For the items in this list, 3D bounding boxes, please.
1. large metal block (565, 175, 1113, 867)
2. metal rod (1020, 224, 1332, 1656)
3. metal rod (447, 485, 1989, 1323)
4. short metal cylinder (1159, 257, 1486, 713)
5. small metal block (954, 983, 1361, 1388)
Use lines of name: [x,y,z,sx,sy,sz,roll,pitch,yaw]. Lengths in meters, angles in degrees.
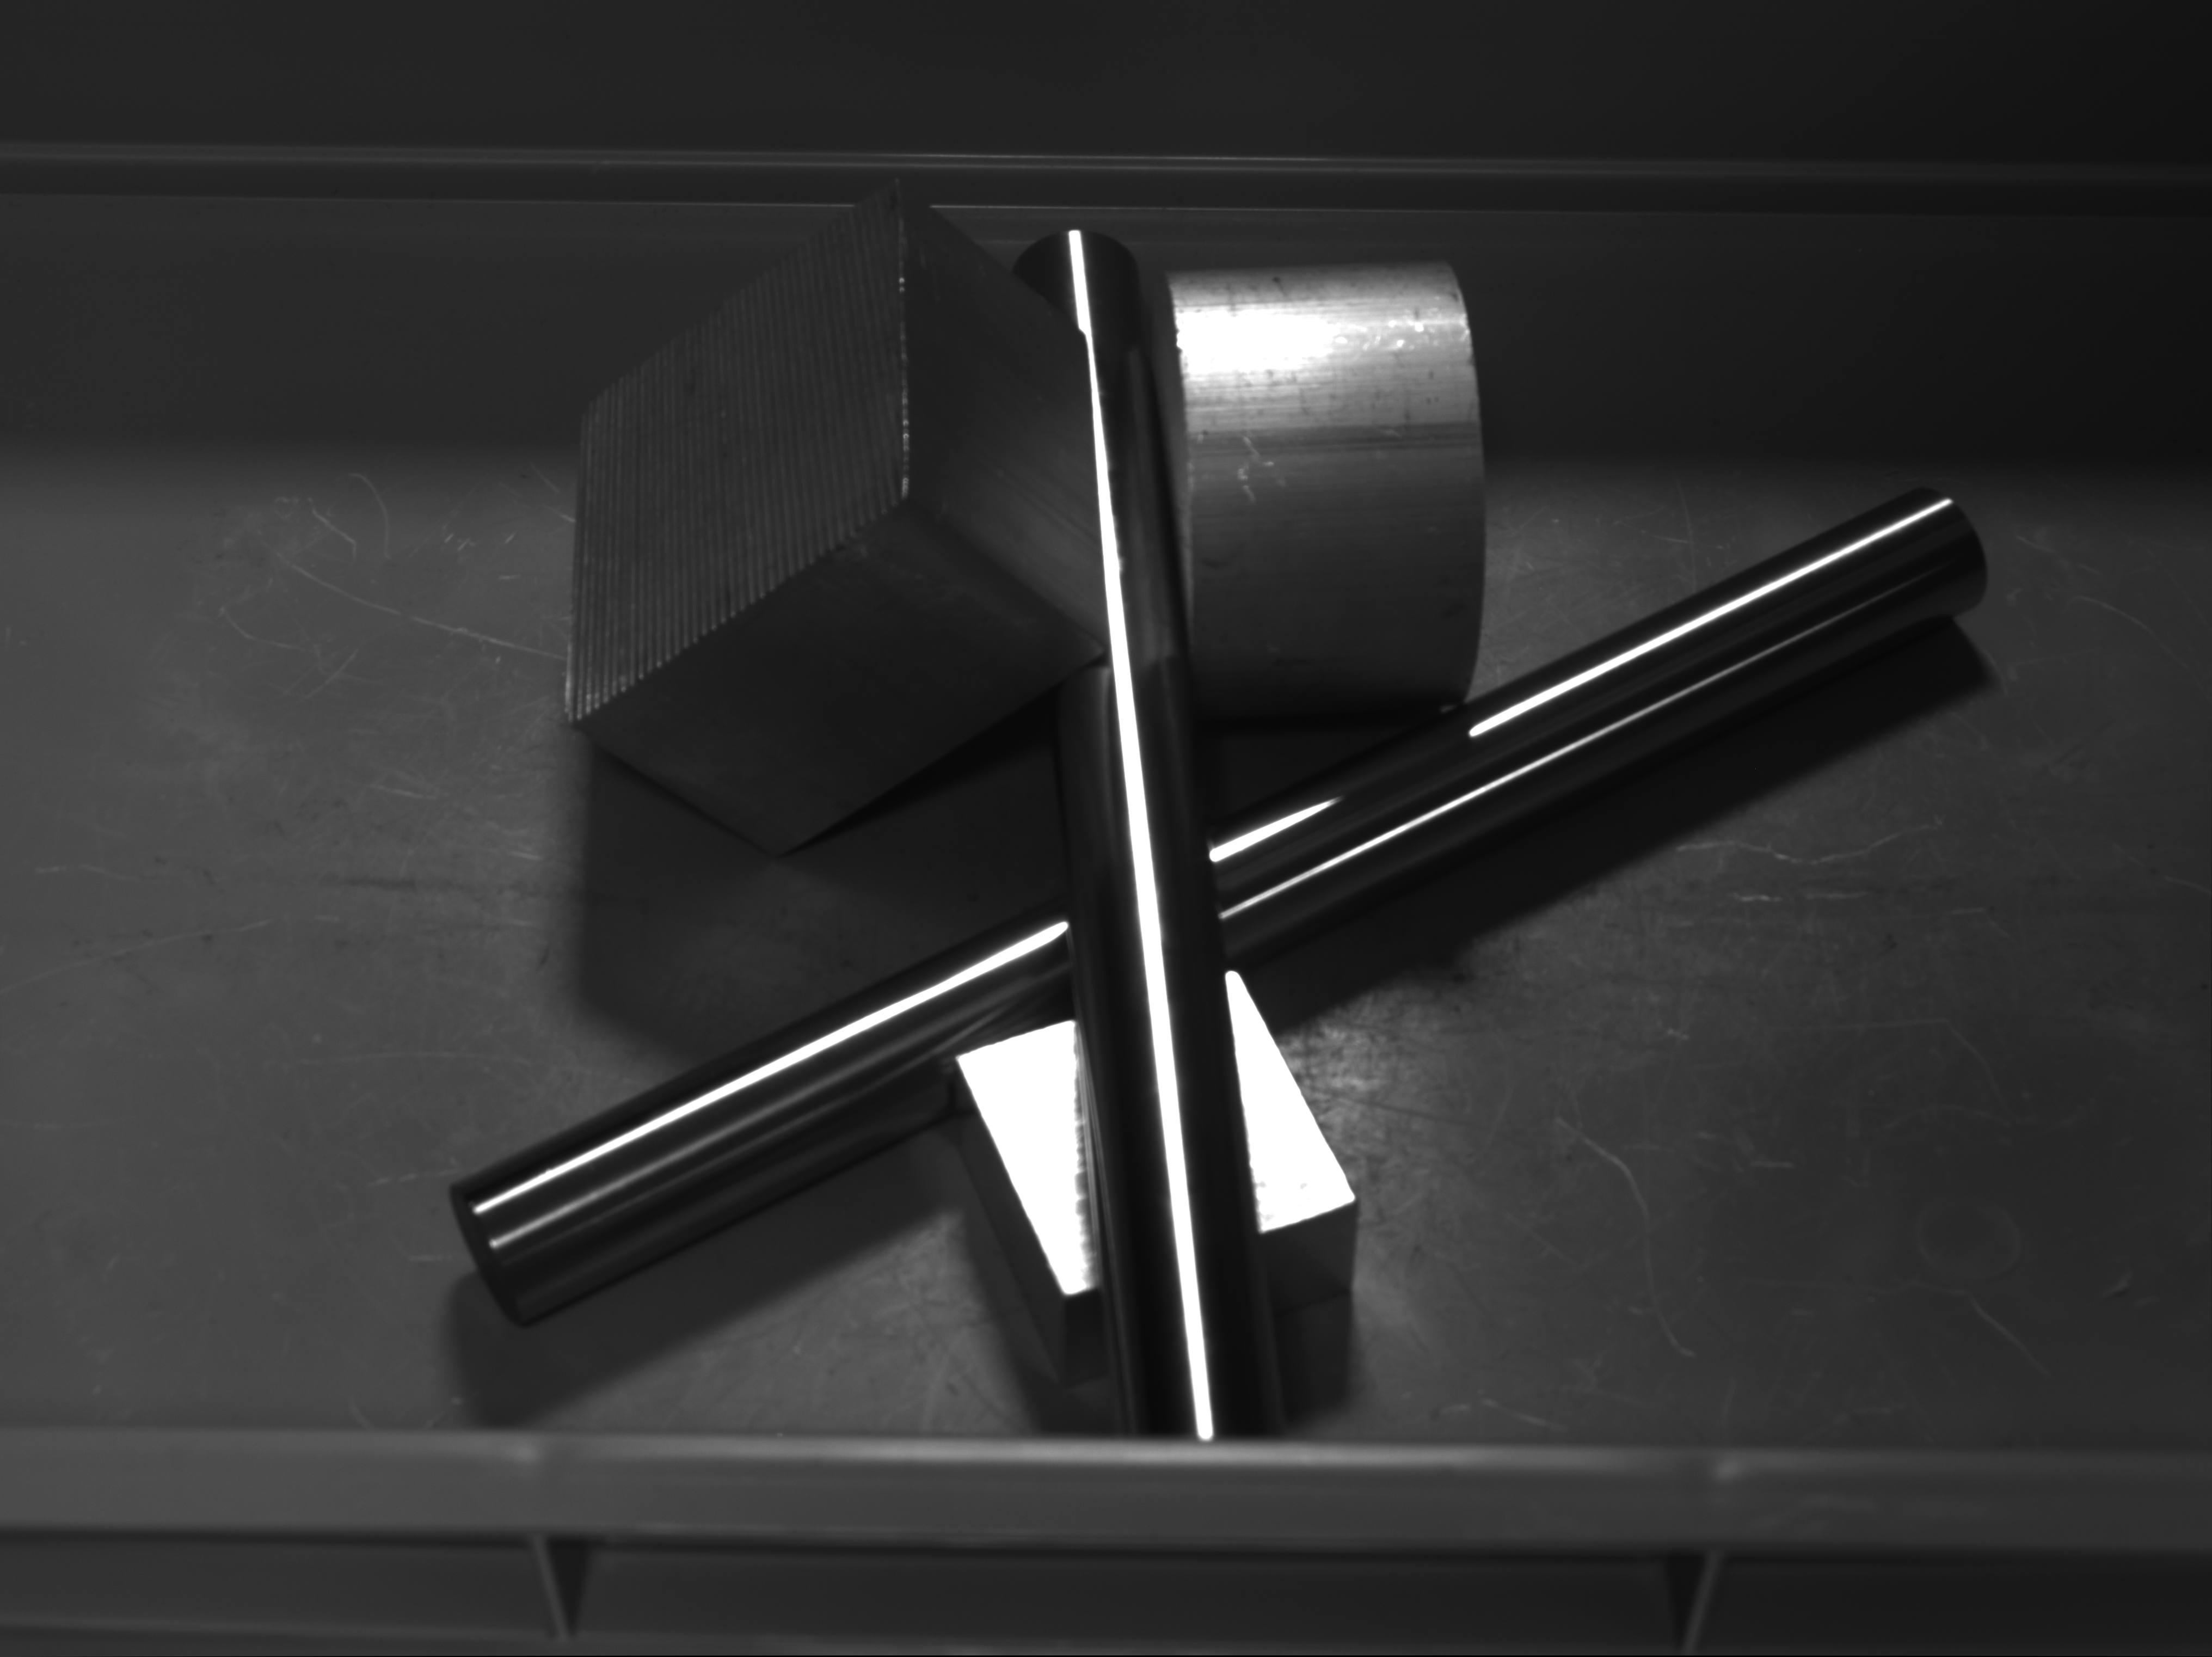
large metal block: [-0.048,-0.053,0.644,0.080,0.050,0.080,-31,43,28]
metal rod: [0.007,0.007,0.601,0.025,0.025,0.300,-4,49,-3]
metal rod: [0.028,0.007,0.634,0.300,0.025,0.025,-25,54,-20]
short metal cylinder: [0.036,-0.061,0.656,0.050,0.080,0.080,-2,50,-4]
small metal block: [0.008,0.056,0.593,0.050,0.025,0.050,-16,52,-13]
